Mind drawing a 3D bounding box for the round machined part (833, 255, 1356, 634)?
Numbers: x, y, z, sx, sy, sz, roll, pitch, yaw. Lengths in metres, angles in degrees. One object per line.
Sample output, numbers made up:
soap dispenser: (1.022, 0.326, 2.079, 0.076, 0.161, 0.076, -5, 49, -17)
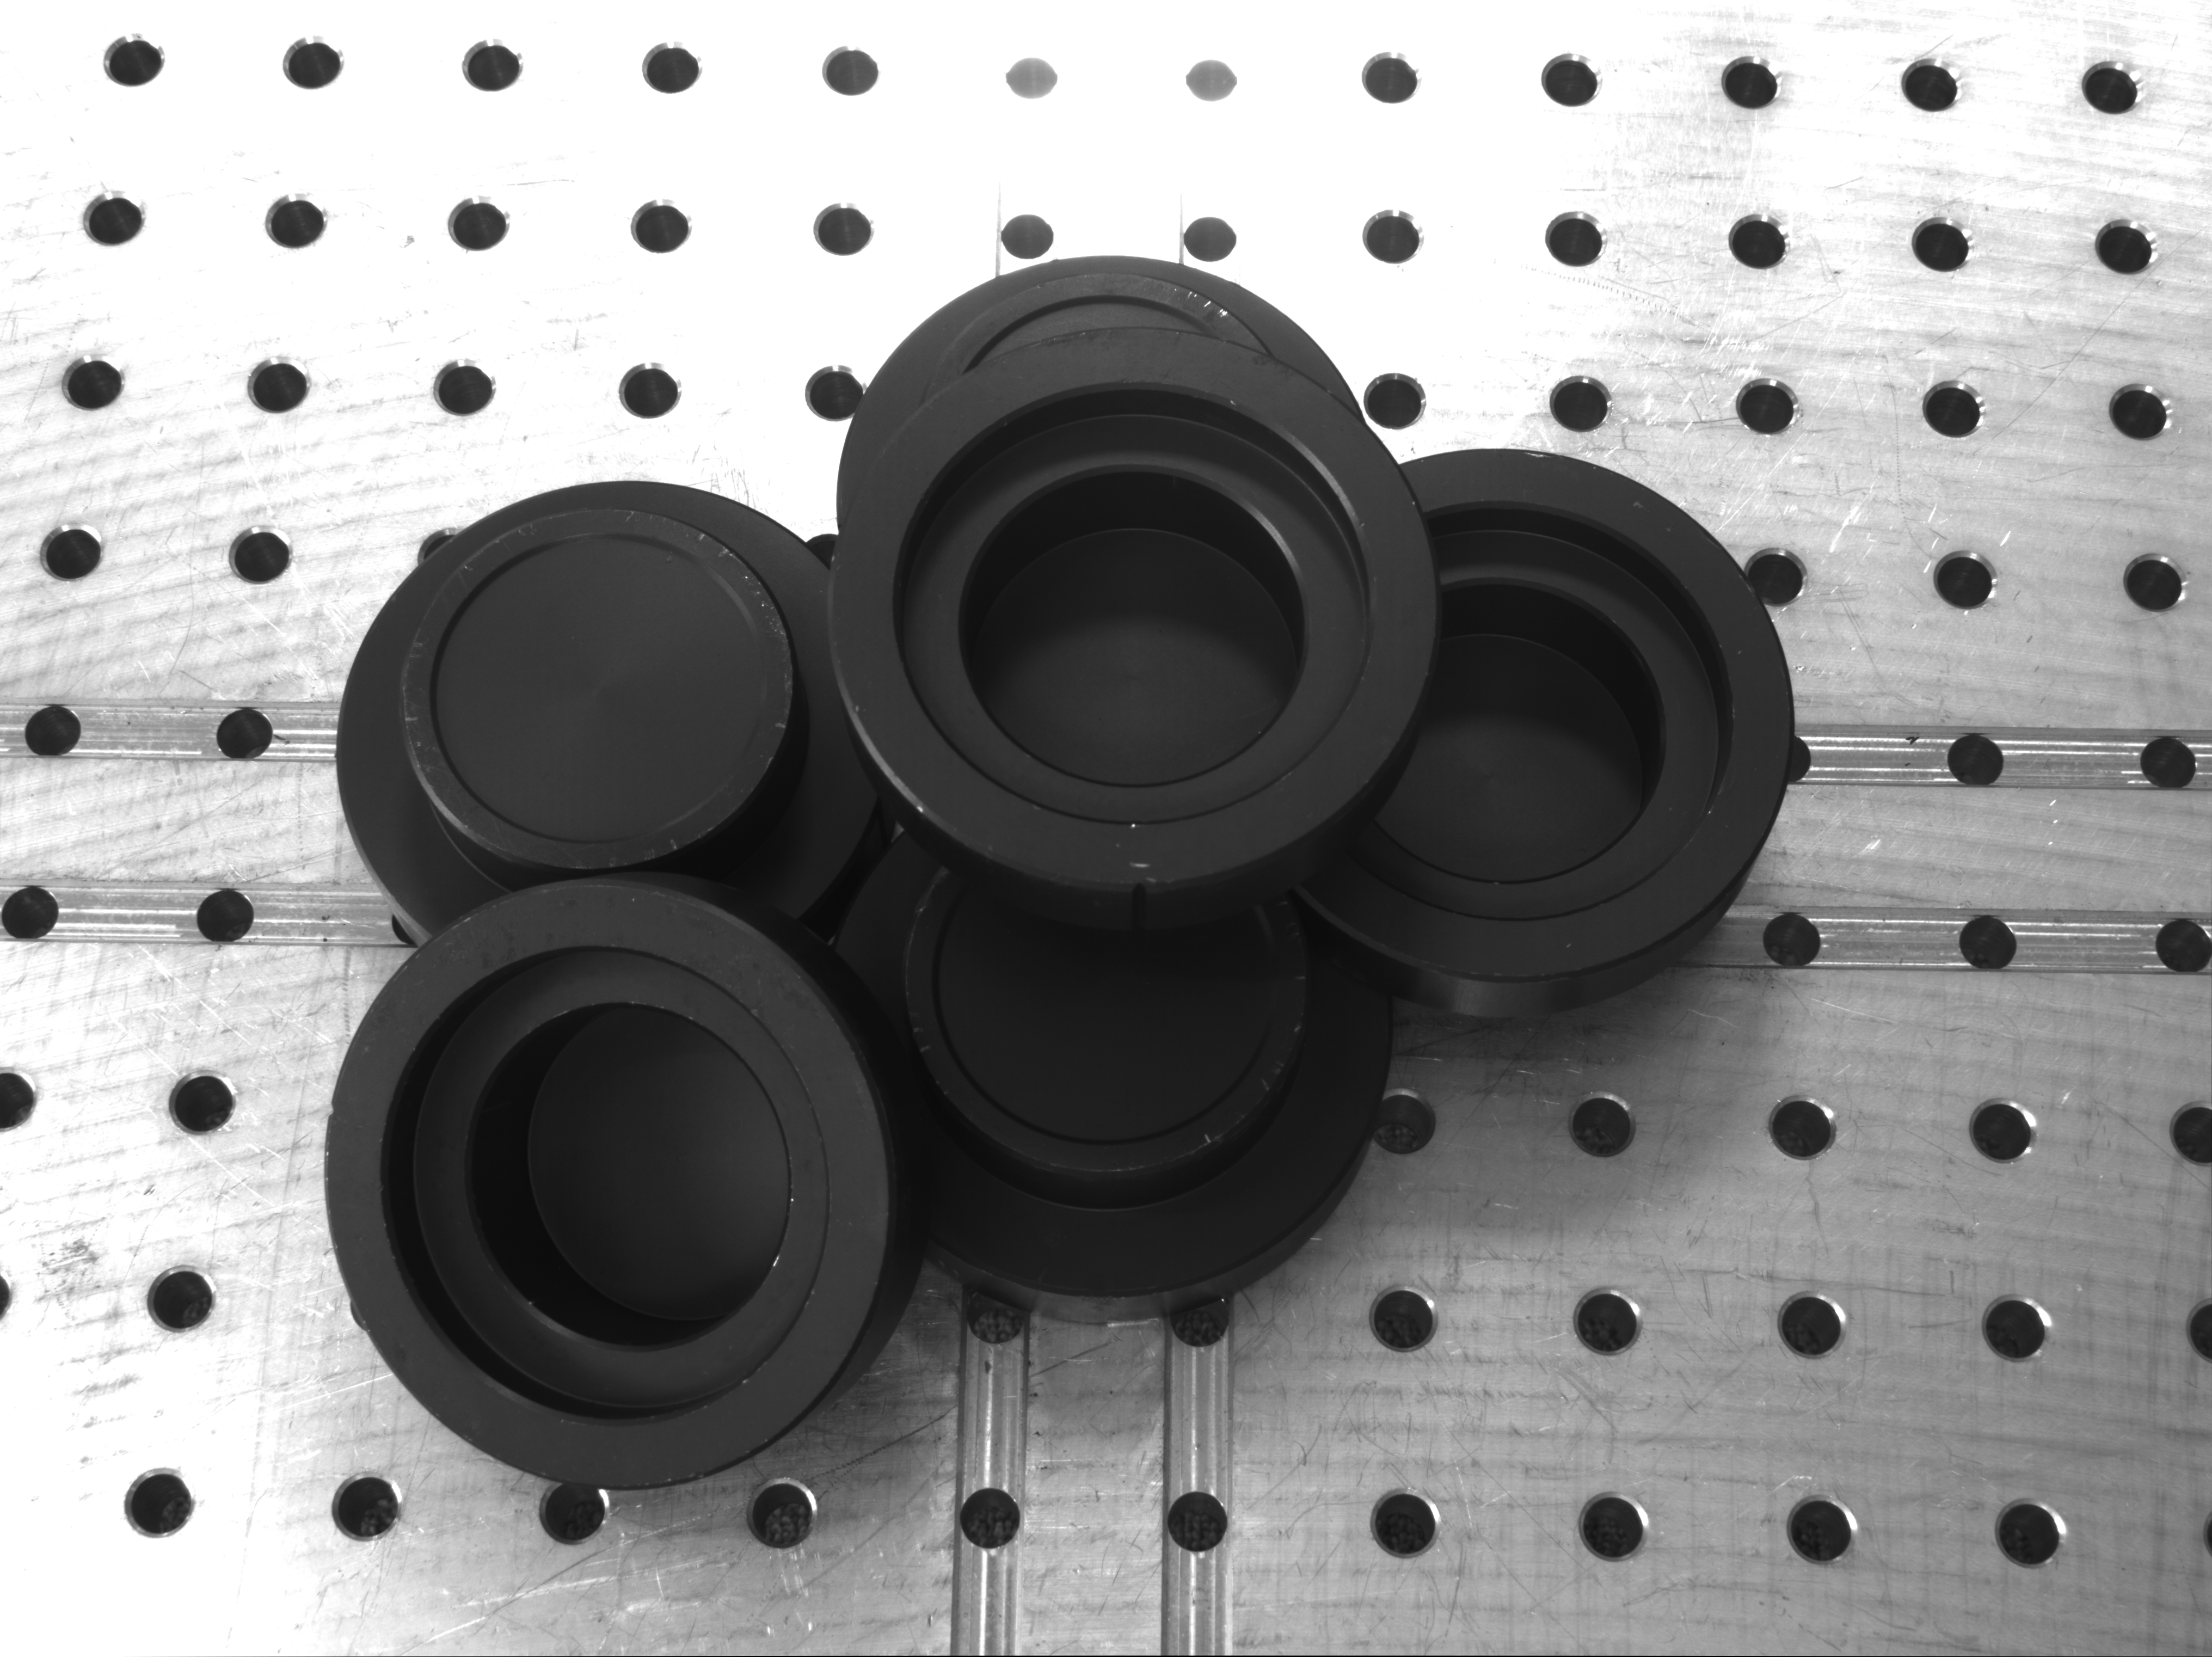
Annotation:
round machined part: (0.000, -0.060, 0.661, 0.098, 0.042, 0.098, 0, 70, 0)

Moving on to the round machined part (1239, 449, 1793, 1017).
round machined part: (0.068, -0.014, 0.643, 0.098, 0.042, 0.098, 0, 70, 0)

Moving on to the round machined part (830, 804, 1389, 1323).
round machined part: (-0.001, 0.032, 0.627, 0.098, 0.042, 0.098, 0, 70, 0)

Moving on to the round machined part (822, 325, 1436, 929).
round machined part: (0.004, -0.030, 0.604, 0.098, 0.042, 0.098, 0, 70, 0)

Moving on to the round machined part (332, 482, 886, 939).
round machined part: (-0.087, -0.017, 0.645, 0.098, 0.042, 0.098, 0, 70, 0)

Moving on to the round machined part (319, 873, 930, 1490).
round machined part: (-0.076, 0.056, 0.604, 0.098, 0.042, 0.098, 1, 93, 14)
